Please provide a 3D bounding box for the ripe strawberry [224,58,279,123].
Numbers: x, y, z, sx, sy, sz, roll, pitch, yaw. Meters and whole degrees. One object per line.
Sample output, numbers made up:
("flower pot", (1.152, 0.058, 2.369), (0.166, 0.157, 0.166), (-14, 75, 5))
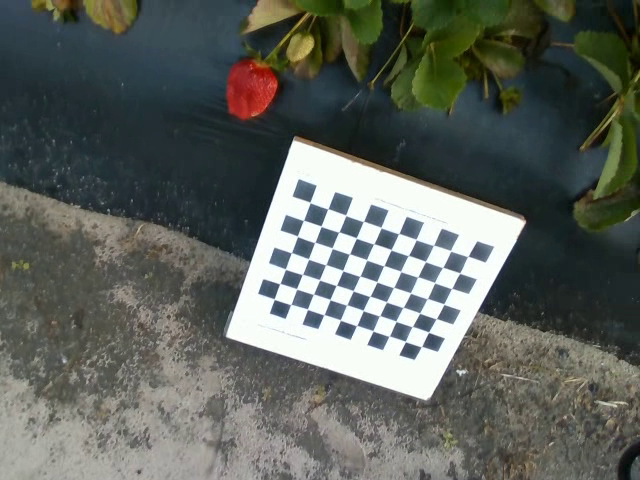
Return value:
("ripe strawberry", (-0.087, -0.179, 0.657), (0.067, 0.075, 0.039), (23, 19, -4))
